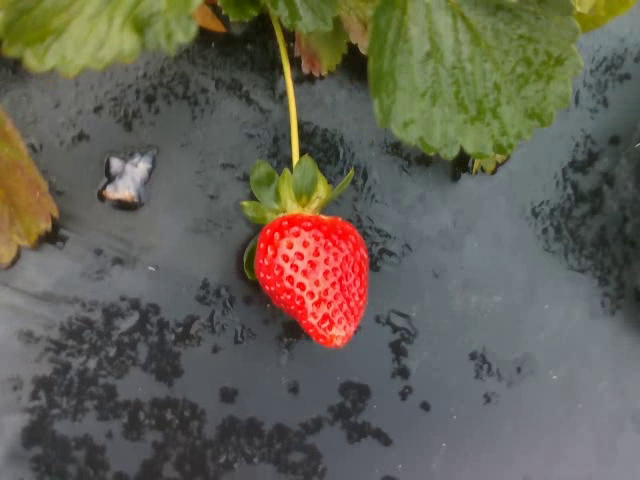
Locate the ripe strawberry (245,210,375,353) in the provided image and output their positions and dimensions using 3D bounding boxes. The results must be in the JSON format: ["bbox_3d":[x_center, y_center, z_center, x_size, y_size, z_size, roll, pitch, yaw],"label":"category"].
[{"bbox_3d":[0.000,0.013,0.213,0.045,0.053,0.048,-9,-26,1],"label":"ripe strawberry"}]
